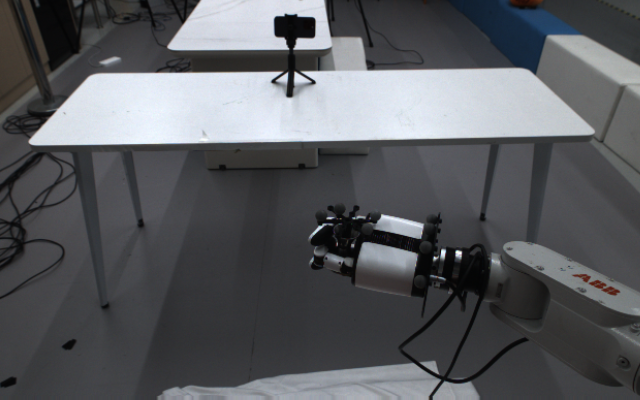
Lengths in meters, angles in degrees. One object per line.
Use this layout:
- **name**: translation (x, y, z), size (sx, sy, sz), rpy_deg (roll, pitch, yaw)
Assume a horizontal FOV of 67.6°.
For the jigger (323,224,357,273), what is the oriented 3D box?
- **jigger**: translation (0.040, 0.072, 0.739), size (0.043, 0.071, 0.043), rpy_deg (4, 31, -2)
